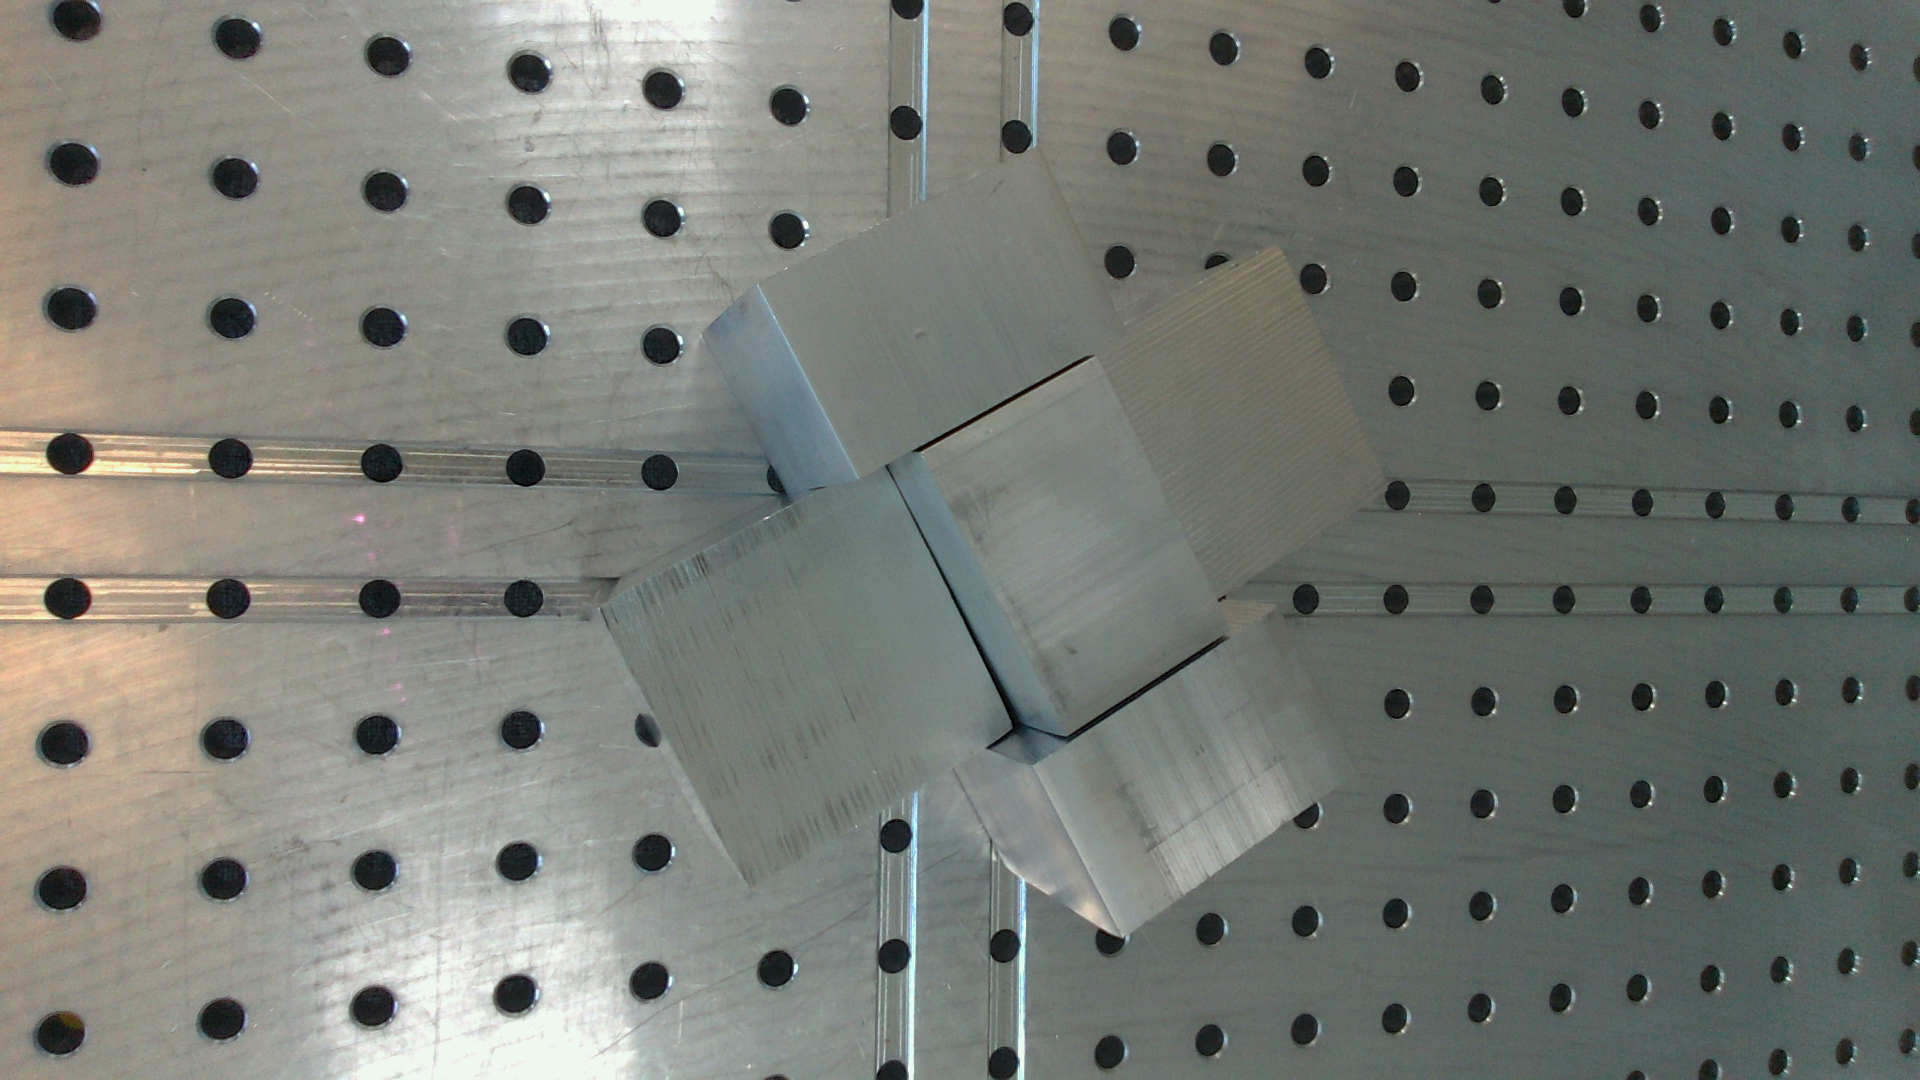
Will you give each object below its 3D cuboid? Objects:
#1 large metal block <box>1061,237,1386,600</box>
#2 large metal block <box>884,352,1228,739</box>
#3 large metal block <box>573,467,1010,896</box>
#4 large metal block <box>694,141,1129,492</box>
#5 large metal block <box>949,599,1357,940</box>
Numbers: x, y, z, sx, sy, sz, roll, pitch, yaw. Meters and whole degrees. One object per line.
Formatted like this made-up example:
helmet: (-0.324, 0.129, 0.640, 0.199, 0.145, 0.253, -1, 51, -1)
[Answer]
large metal block: (0.065, -0.032, 0.406, 0.080, 0.050, 0.080, -30, 102, -17)
large metal block: (0.016, 0.001, 0.372, 0.050, 0.080, 0.080, -30, 100, -17)
large metal block: (-0.046, 0.034, 0.367, 0.080, 0.050, 0.080, -28, 99, -18)
large metal block: (-0.016, -0.055, 0.360, 0.080, 0.080, 0.050, -30, 99, -17)
large metal block: (0.047, 0.057, 0.384, 0.080, 0.080, 0.050, -30, 100, -18)
